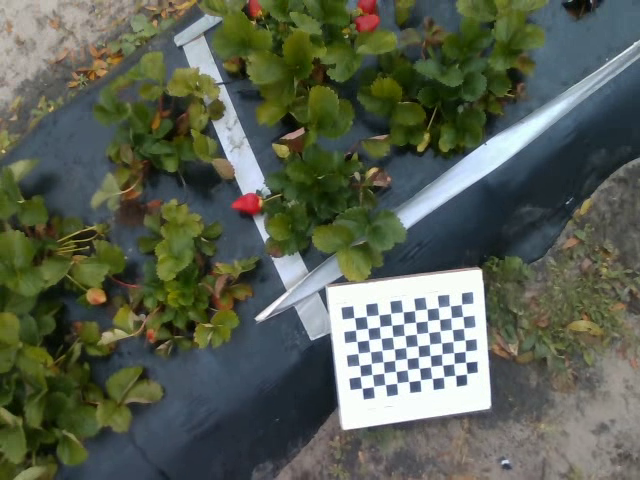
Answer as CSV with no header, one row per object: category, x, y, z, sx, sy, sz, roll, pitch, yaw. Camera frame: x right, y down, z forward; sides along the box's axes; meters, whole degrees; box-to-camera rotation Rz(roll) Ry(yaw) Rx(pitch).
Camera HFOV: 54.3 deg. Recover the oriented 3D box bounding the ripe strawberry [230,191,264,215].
ripe strawberry,-0.119,-0.058,1.022,0.051,0.042,0.038,-11,13,-9
